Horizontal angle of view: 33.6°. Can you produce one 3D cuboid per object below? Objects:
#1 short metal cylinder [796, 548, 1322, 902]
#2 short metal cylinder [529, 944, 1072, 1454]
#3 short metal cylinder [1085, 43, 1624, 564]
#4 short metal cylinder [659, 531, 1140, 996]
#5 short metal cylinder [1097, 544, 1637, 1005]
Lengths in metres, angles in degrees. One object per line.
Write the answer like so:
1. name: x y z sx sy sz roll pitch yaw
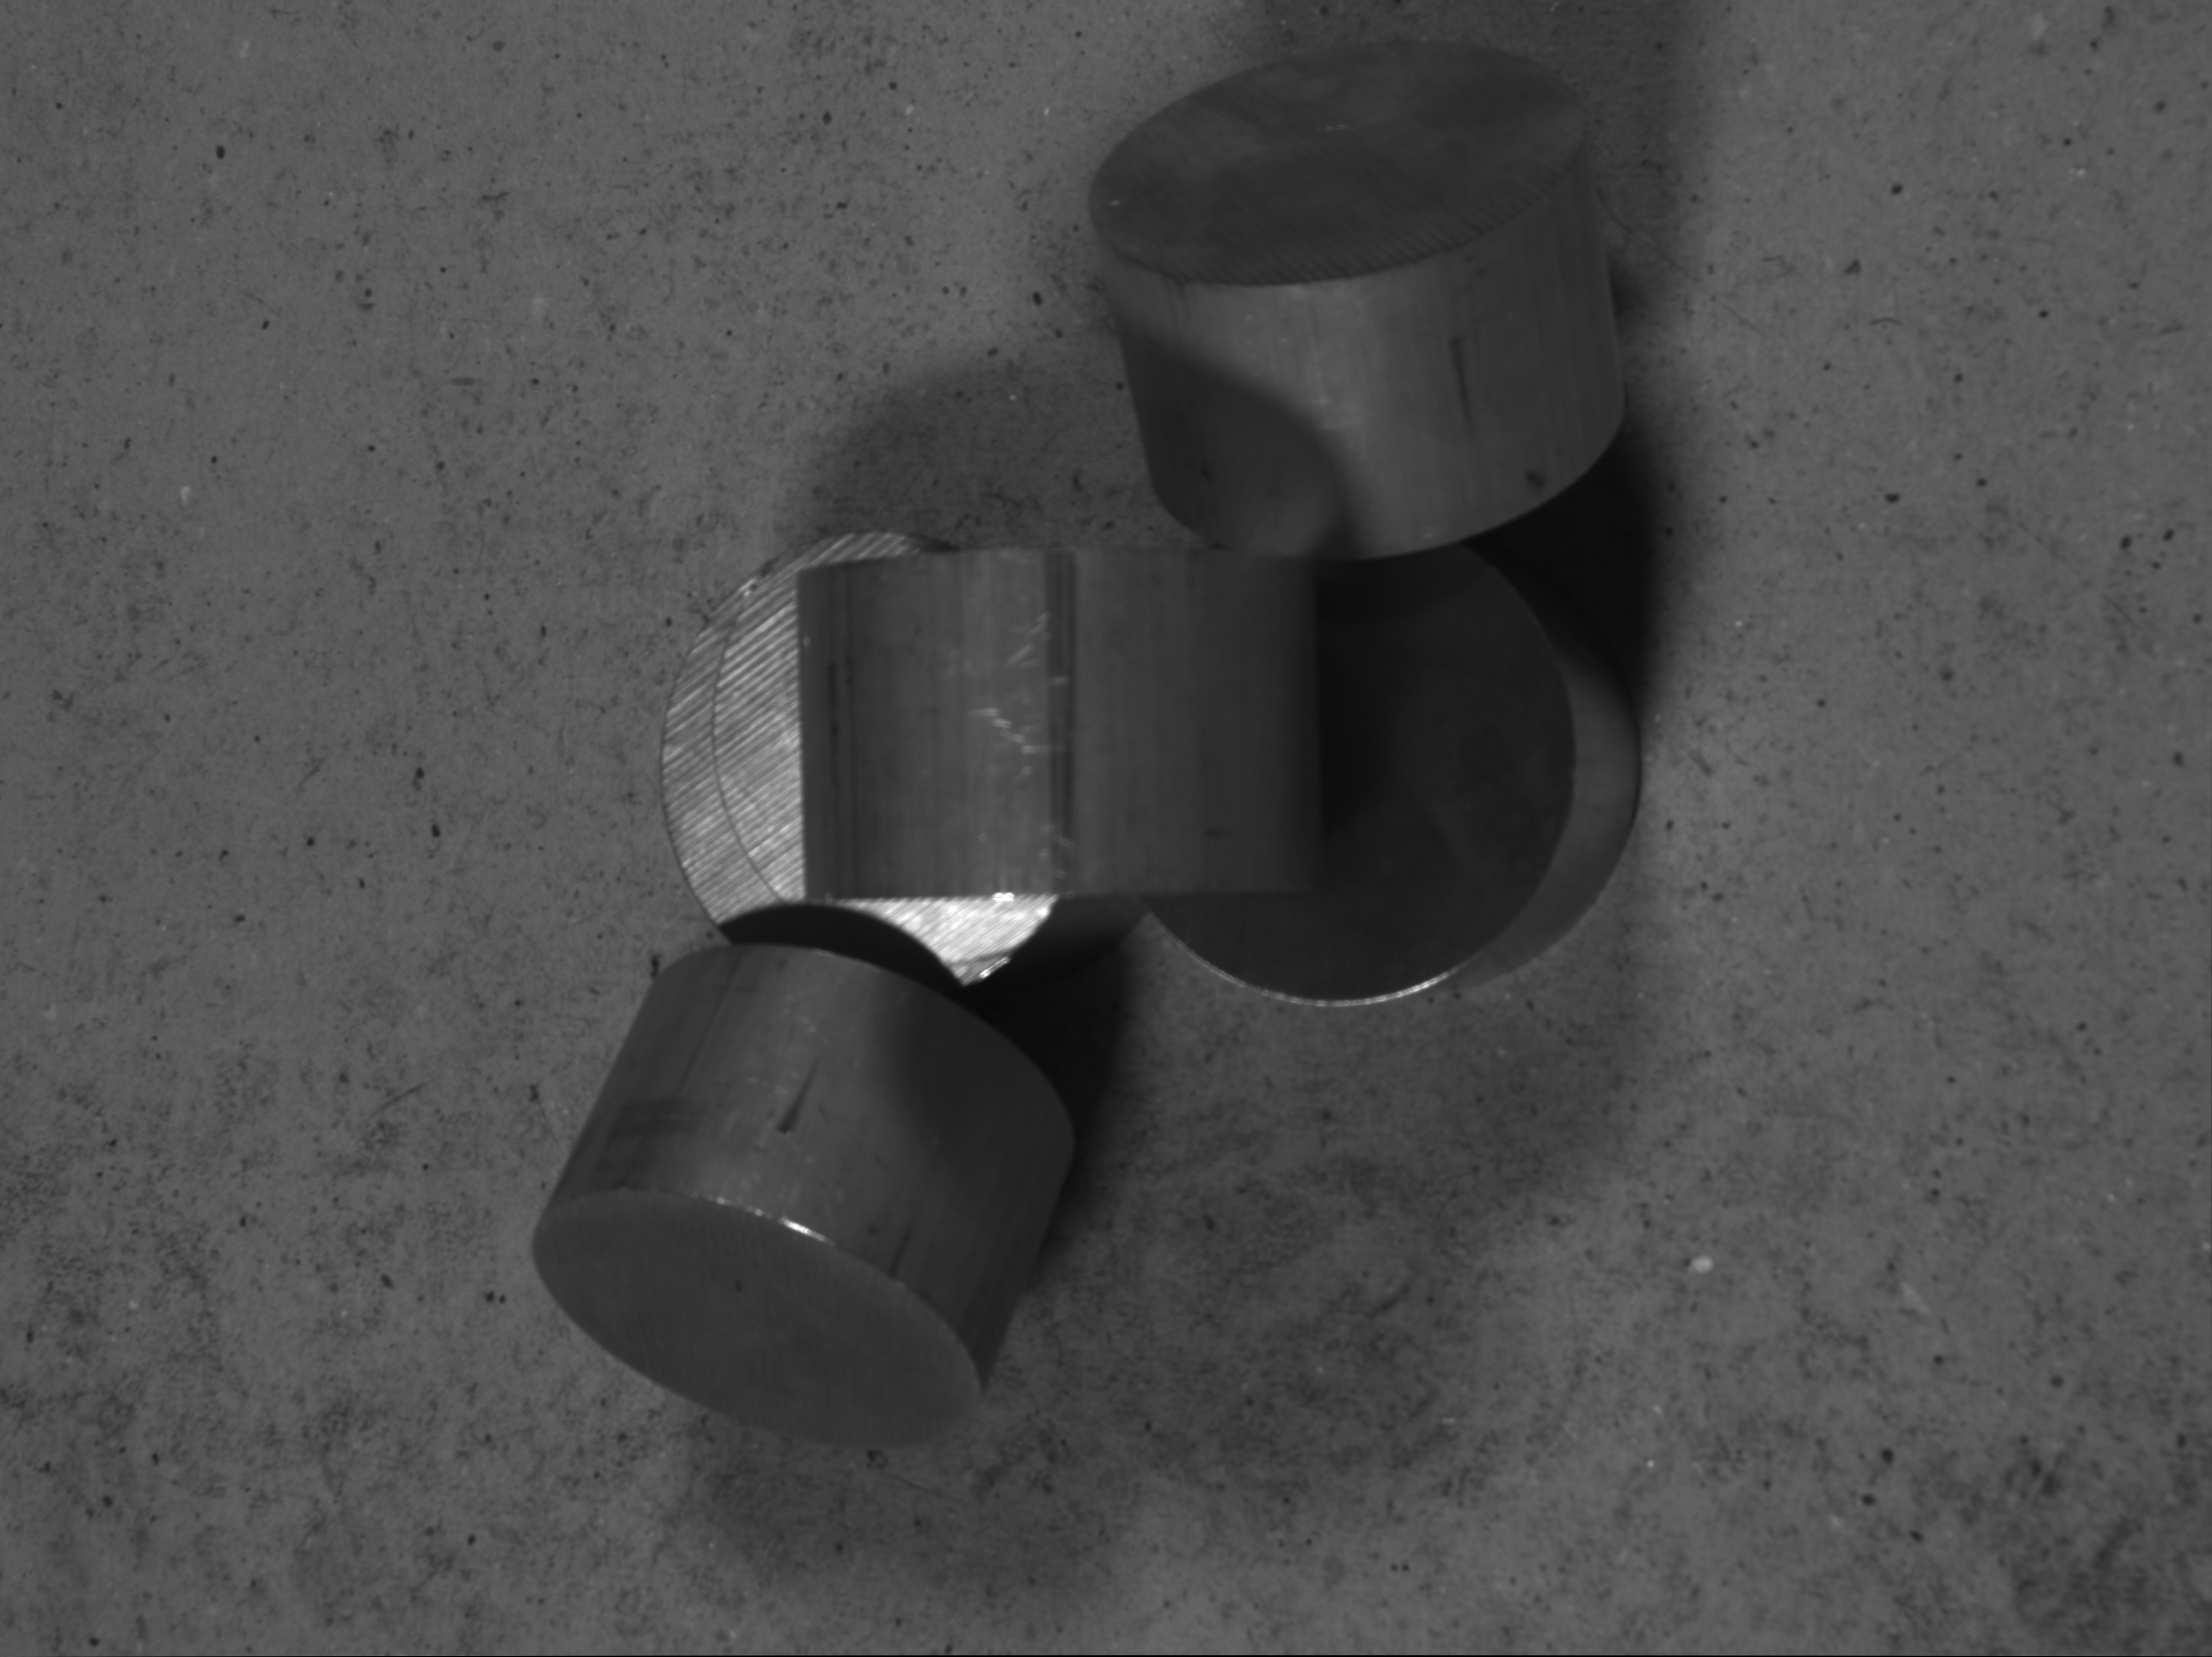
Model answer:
1. short metal cylinder: -0.007 -0.015 0.565 0.080 0.080 0.050 -2 89 20
2. short metal cylinder: -0.052 0.064 0.626 0.080 0.080 0.050 8 54 20
3. short metal cylinder: 0.041 -0.086 0.593 0.080 0.080 0.050 1 128 20
4. short metal cylinder: -0.031 -0.010 0.642 0.080 0.050 0.080 0 90 20
5. short metal cylinder: 0.044 -0.011 0.615 0.080 0.050 0.080 0 90 20
